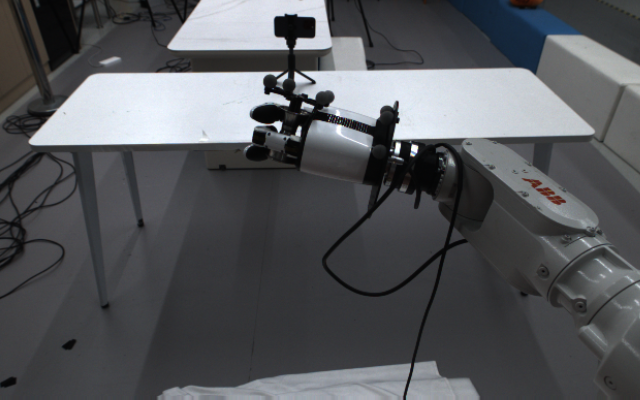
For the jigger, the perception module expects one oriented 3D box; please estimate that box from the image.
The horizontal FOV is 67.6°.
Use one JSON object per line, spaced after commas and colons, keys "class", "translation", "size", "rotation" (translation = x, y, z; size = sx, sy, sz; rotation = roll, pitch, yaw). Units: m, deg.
{"class": "jigger", "translation": [-0.040, -0.087, 0.647], "size": [0.043, 0.071, 0.043], "rotation": [15, 17, -5]}
